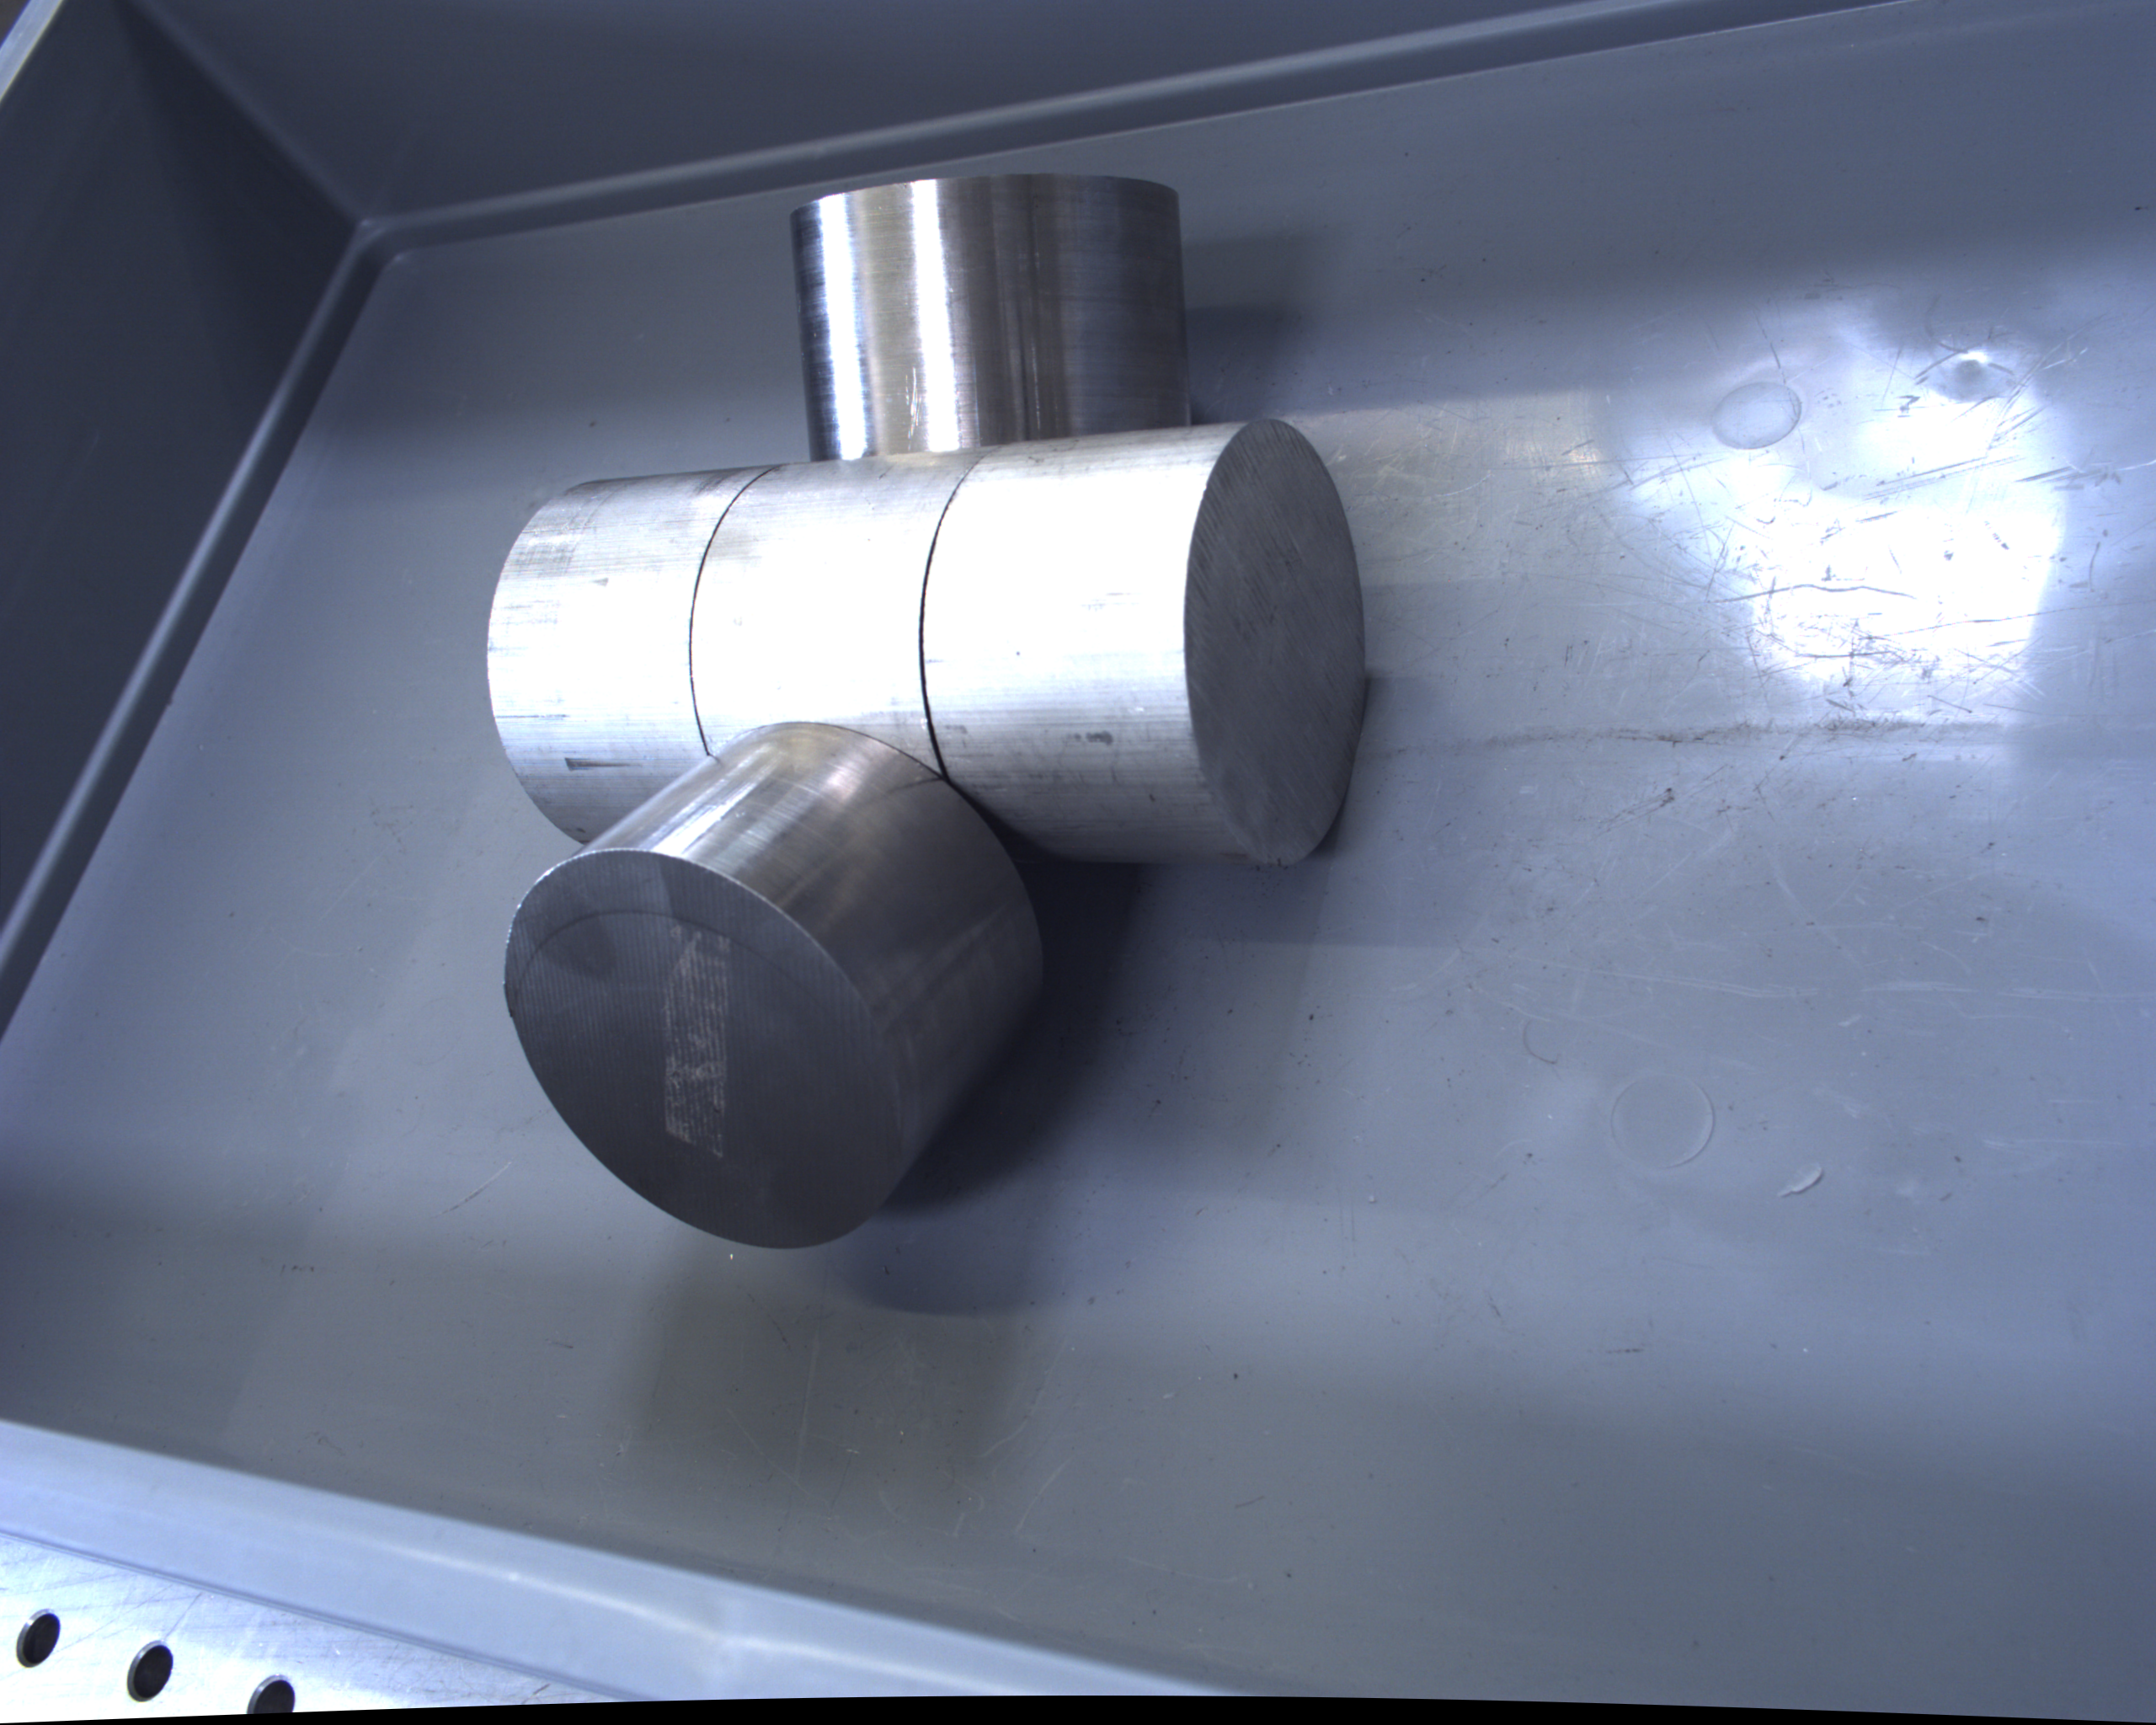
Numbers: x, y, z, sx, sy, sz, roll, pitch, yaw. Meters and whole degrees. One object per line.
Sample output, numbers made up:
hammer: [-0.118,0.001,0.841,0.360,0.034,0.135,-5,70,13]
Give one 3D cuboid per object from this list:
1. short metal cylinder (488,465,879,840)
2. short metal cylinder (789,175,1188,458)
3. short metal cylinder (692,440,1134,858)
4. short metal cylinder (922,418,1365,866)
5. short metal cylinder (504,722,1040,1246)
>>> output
short metal cylinder: [-0.074,-0.041,0.433,0.050,0.080,0.080,1,62,29]
short metal cylinder: [-0.018,-0.111,0.437,0.080,0.080,0.050,2,101,29]
short metal cylinder: [-0.030,-0.041,0.409,0.050,0.080,0.080,1,62,29]
short metal cylinder: [0.015,-0.040,0.385,0.050,0.080,0.080,1,62,29]
short metal cylinder: [-0.054,0.021,0.374,0.080,0.080,0.050,0,28,28]
